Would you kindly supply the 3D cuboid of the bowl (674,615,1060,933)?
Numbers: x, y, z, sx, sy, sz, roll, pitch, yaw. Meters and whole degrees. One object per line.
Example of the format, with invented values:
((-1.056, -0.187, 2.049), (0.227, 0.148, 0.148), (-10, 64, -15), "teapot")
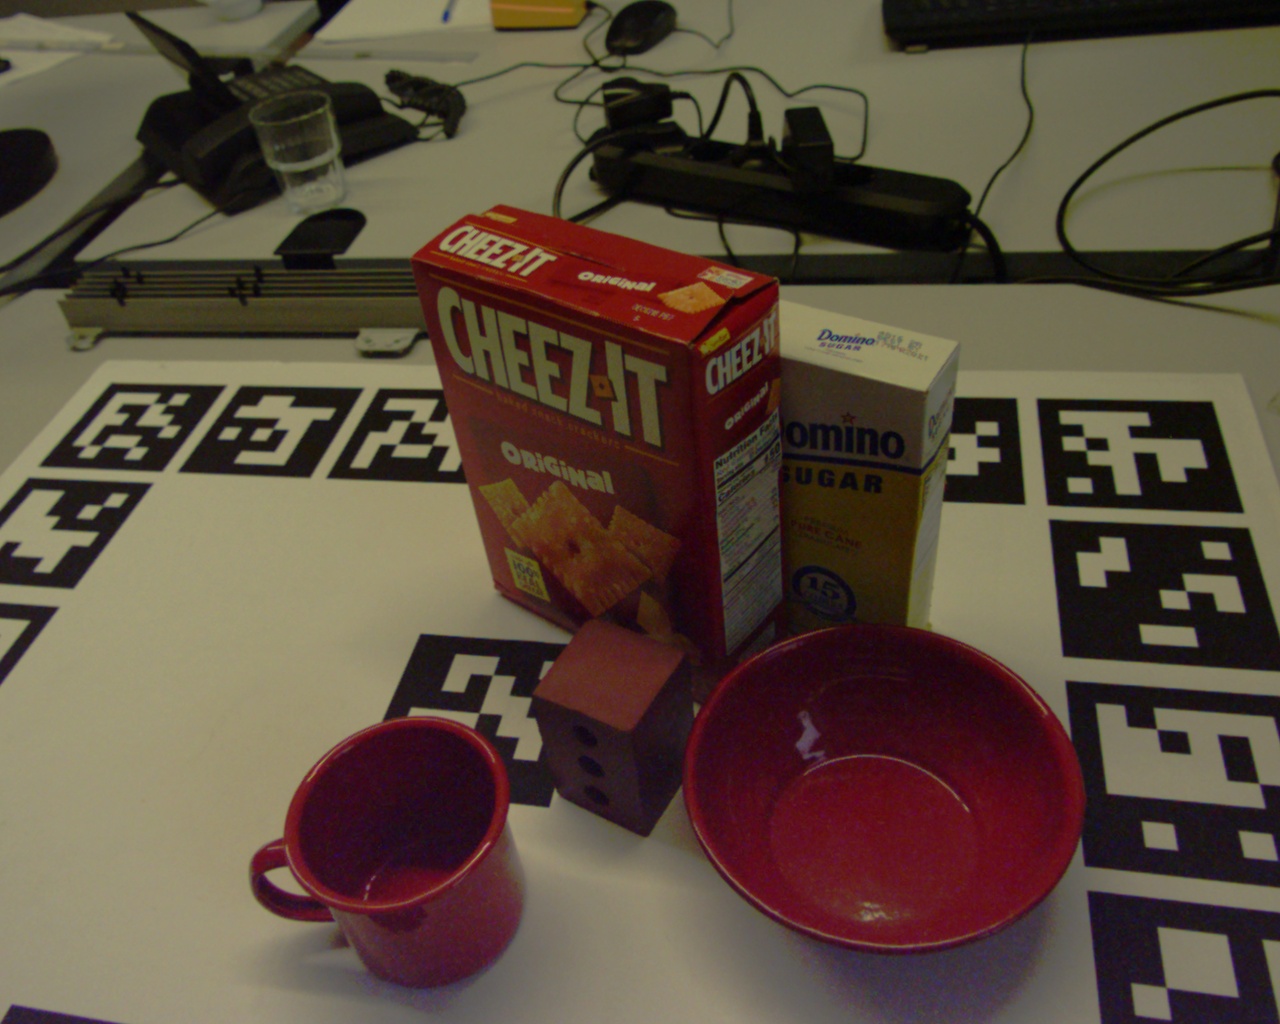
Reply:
((0.098, 0.123, 0.508), (0.162, 0.055, 0.162), (-6, 43, 5), "bowl")

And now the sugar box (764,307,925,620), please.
((0.093, -0.015, 0.584), (0.094, 0.175, 0.045), (19, 49, 28), "sugar box")

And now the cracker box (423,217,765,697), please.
((-0.020, -0.024, 0.590), (0.166, 0.212, 0.071), (27, 51, 32), "cracker box")

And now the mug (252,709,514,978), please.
((-0.114, 0.150, 0.509), (0.117, 0.081, 0.093), (-5, 34, 8), "mug")

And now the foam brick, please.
((-0.015, 0.098, 0.562), (0.053, 0.077, 0.051), (14, 46, 24), "foam brick")
